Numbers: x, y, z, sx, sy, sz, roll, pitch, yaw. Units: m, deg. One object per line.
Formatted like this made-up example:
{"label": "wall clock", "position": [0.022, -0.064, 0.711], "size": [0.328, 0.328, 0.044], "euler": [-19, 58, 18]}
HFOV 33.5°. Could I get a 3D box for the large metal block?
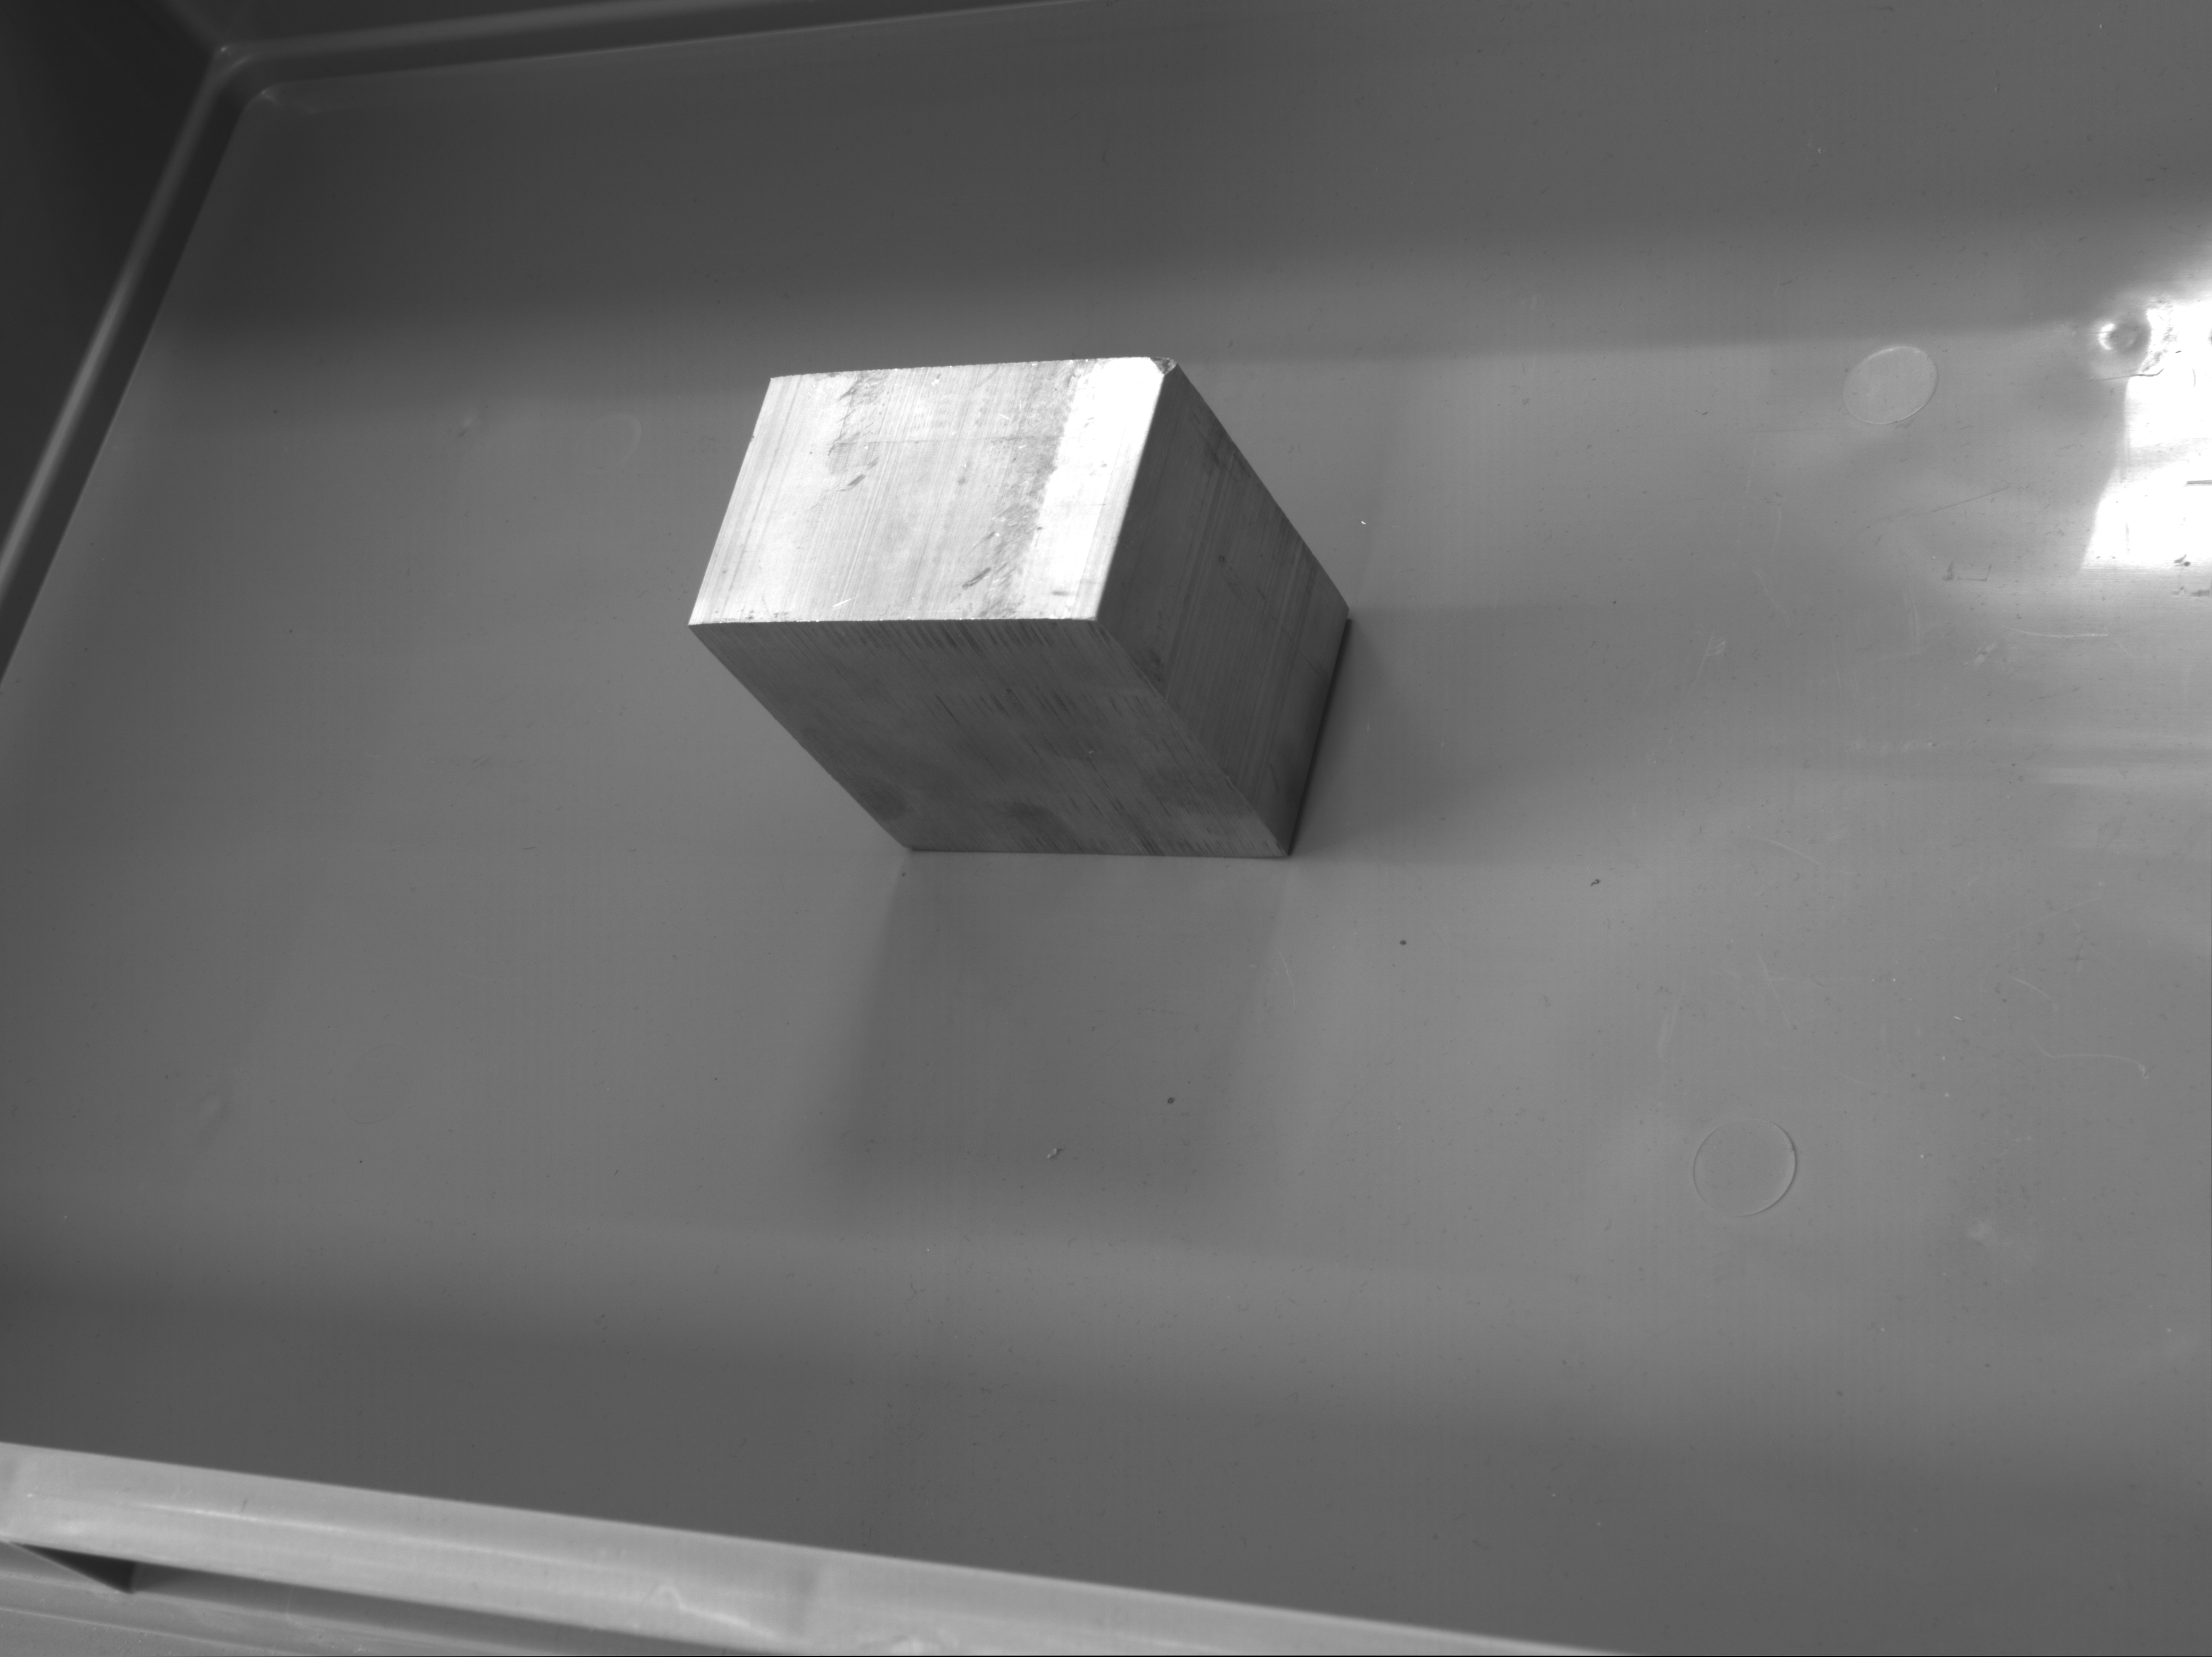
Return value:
{"label": "large metal block", "position": [-0.013, -0.036, 0.638], "size": [0.080, 0.080, 0.050], "euler": [1, 62, 29]}
